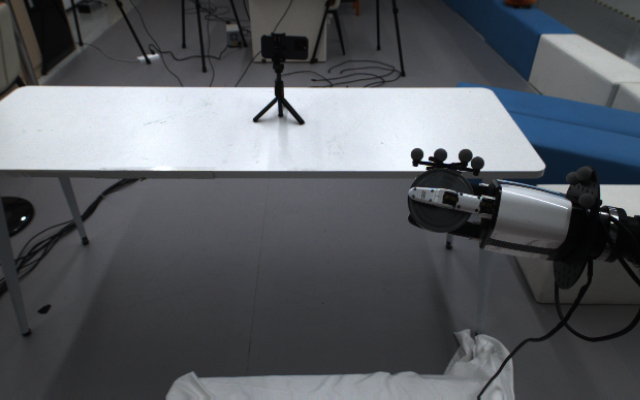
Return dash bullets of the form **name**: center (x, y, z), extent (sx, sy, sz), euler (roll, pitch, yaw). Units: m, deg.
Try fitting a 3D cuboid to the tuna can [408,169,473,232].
- **tuna can**: center (0.162, -0.003, 0.646), extent (0.085, 0.085, 0.034), euler (11, -7, 12)
